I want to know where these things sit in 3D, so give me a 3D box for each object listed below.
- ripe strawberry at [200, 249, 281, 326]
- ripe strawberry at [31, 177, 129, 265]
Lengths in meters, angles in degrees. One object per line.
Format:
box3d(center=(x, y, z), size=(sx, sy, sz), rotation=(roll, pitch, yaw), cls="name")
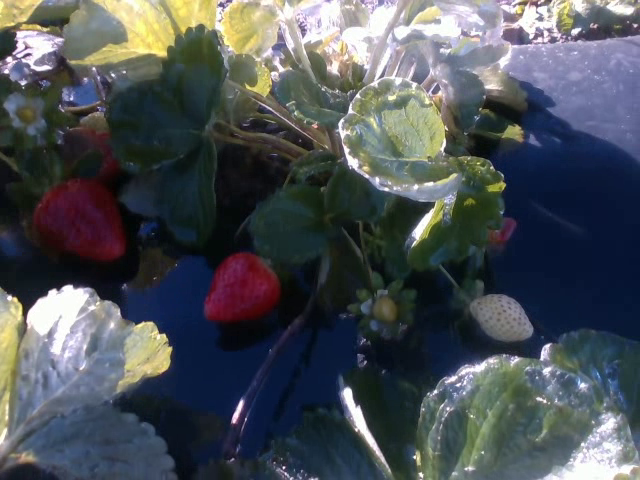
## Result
box3d(center=(-0.038, 0.026, 0.288), size=(0.039, 0.047, 0.040), rotation=(37, -27, 11), cls="ripe strawberry")
box3d(center=(-0.122, -0.009, 0.313), size=(0.044, 0.056, 0.040), rotation=(-39, -15, -13), cls="ripe strawberry")
